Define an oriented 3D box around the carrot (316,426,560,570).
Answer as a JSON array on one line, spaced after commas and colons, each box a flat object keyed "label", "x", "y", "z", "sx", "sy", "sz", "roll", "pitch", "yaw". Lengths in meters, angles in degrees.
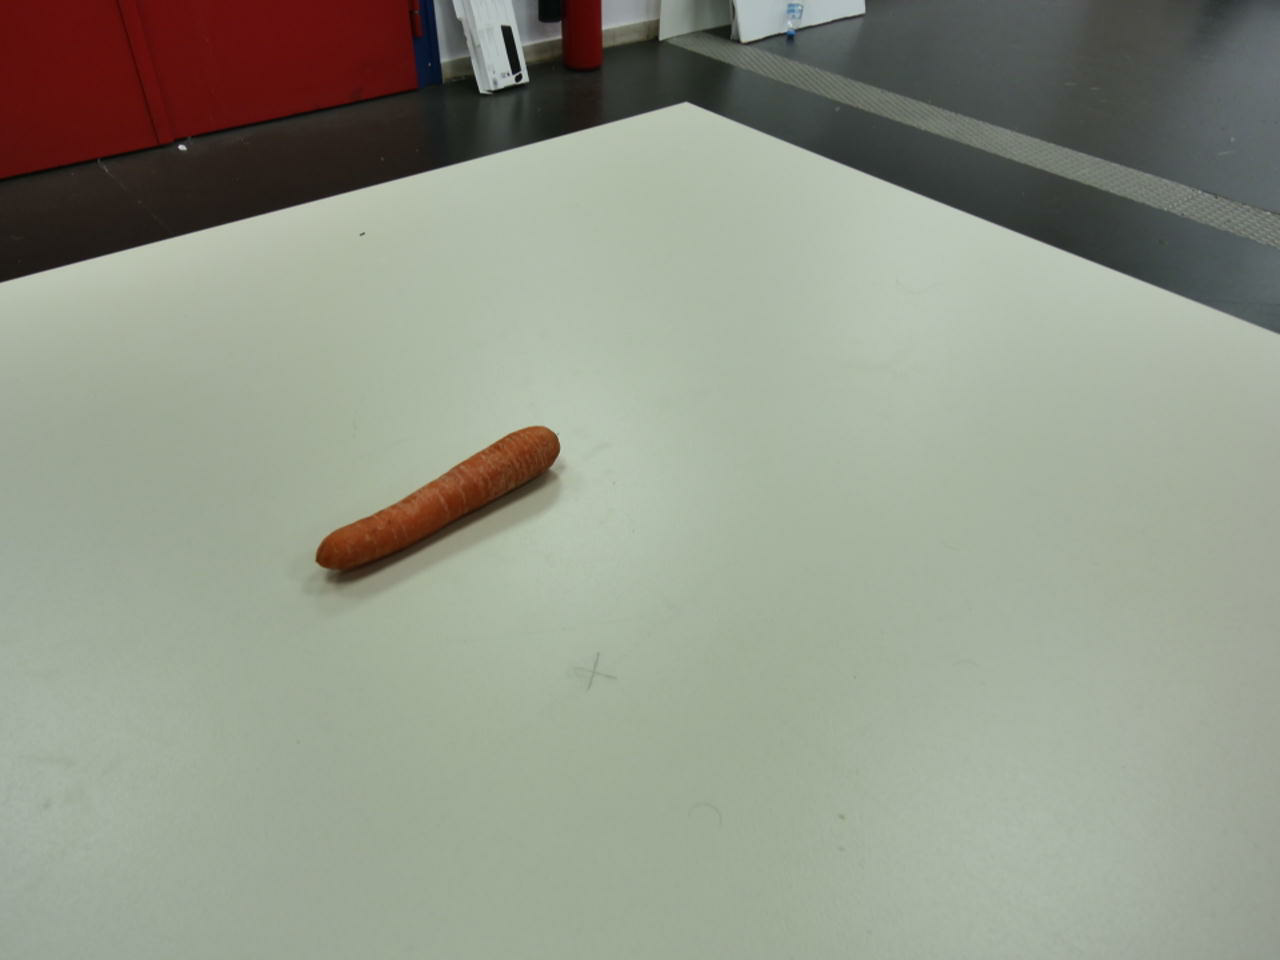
[{"label": "carrot", "x": -0.084, "y": 0.006, "z": 0.433, "sx": 0.122, "sy": 0.023, "sz": 0.024, "roll": -28, "pitch": 46, "yaw": -33}]
